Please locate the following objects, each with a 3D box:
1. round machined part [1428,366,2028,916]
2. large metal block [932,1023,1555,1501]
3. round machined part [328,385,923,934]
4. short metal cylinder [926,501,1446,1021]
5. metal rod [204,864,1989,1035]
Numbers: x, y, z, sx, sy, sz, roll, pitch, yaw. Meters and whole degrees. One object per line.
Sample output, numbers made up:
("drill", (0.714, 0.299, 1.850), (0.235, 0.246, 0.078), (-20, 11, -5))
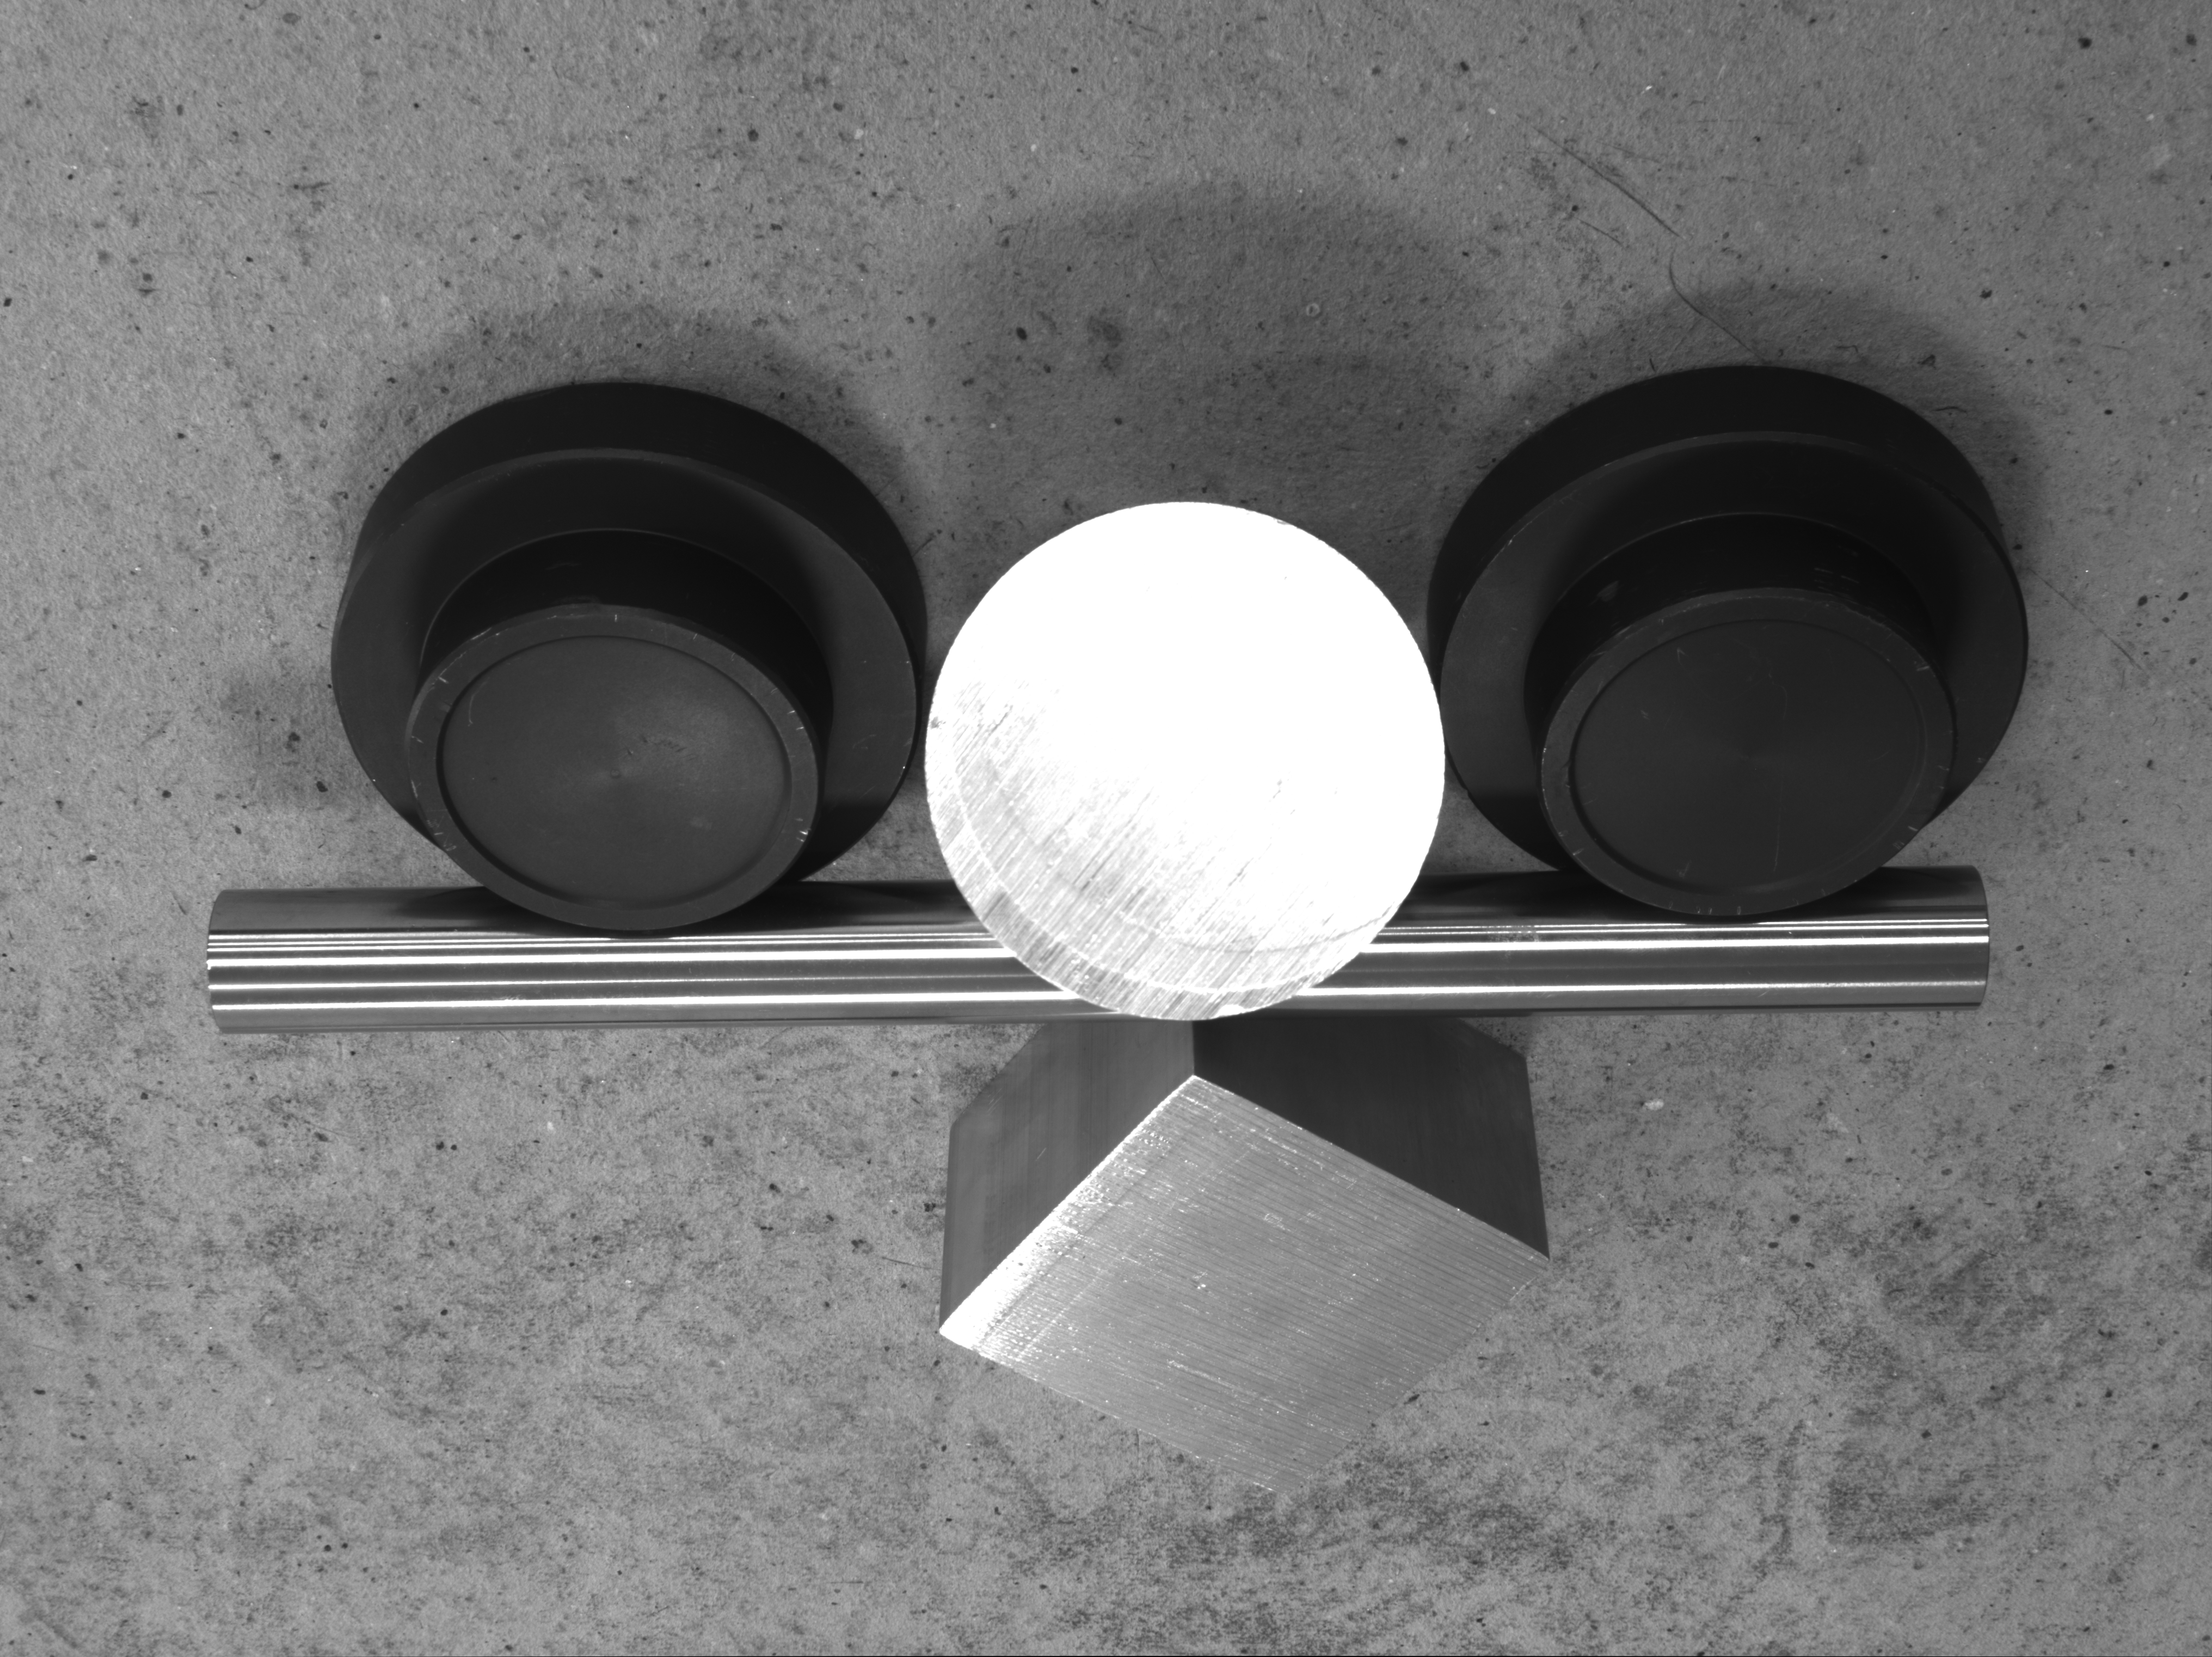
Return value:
("round machined part", (0.104, -0.024, 0.609), (0.098, 0.042, 0.098), (0, 130, 0))
("large metal block", (0.024, 0.068, 0.678), (0.080, 0.050, 0.080), (28, 124, -22))
("round machined part", (-0.080, -0.021, 0.610), (0.098, 0.042, 0.098), (0, 130, 0))
("short metal cylinder", (0.013, -0.012, 0.589), (0.080, 0.050, 0.080), (0, 94, 1))
("metal rod", (-0.002, 0.021, 0.630), (0.300, 0.025, 0.025), (-1, 130, 1))
